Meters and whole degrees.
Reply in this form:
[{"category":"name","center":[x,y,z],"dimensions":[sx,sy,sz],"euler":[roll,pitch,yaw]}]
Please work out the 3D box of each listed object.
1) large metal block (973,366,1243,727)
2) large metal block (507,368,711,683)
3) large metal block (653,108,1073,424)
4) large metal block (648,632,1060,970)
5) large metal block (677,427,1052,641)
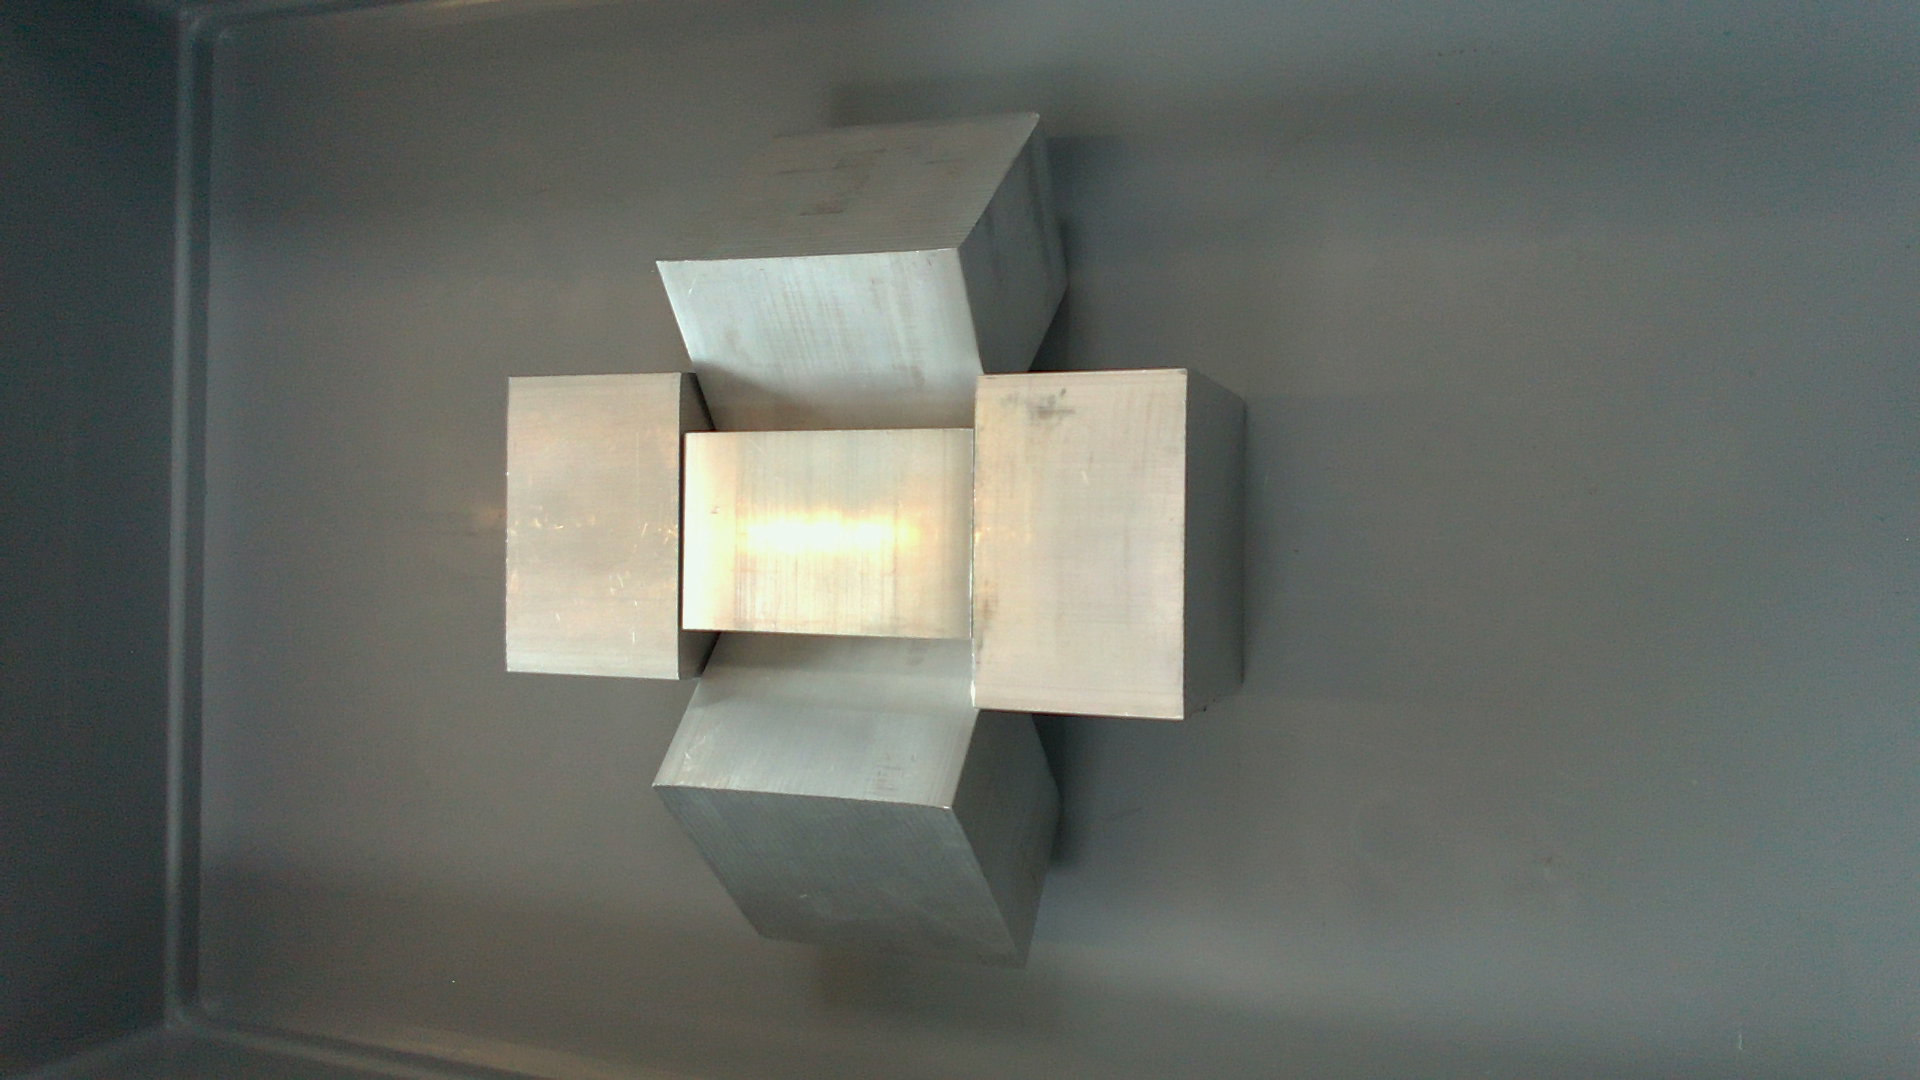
[{"category":"large metal block","center":[0.041,0.001,0.351],"dimensions":[0.050,0.080,0.080],"euler":[1,90,20]},{"category":"large metal block","center":[-0.083,-0.004,0.396],"dimensions":[0.050,0.080,0.080],"euler":[1,90,20]},{"category":"large metal block","center":[-0.021,-0.073,0.367],"dimensions":[0.080,0.080,0.050],"euler":[2,128,20]},{"category":"large metal block","center":[-0.023,0.069,0.367],"dimensions":[0.080,0.080,0.050],"euler":[1,48,19]},{"category":"large metal block","center":[-0.020,-0.002,0.373],"dimensions":[0.080,0.080,0.050],"euler":[1,90,20]}]
